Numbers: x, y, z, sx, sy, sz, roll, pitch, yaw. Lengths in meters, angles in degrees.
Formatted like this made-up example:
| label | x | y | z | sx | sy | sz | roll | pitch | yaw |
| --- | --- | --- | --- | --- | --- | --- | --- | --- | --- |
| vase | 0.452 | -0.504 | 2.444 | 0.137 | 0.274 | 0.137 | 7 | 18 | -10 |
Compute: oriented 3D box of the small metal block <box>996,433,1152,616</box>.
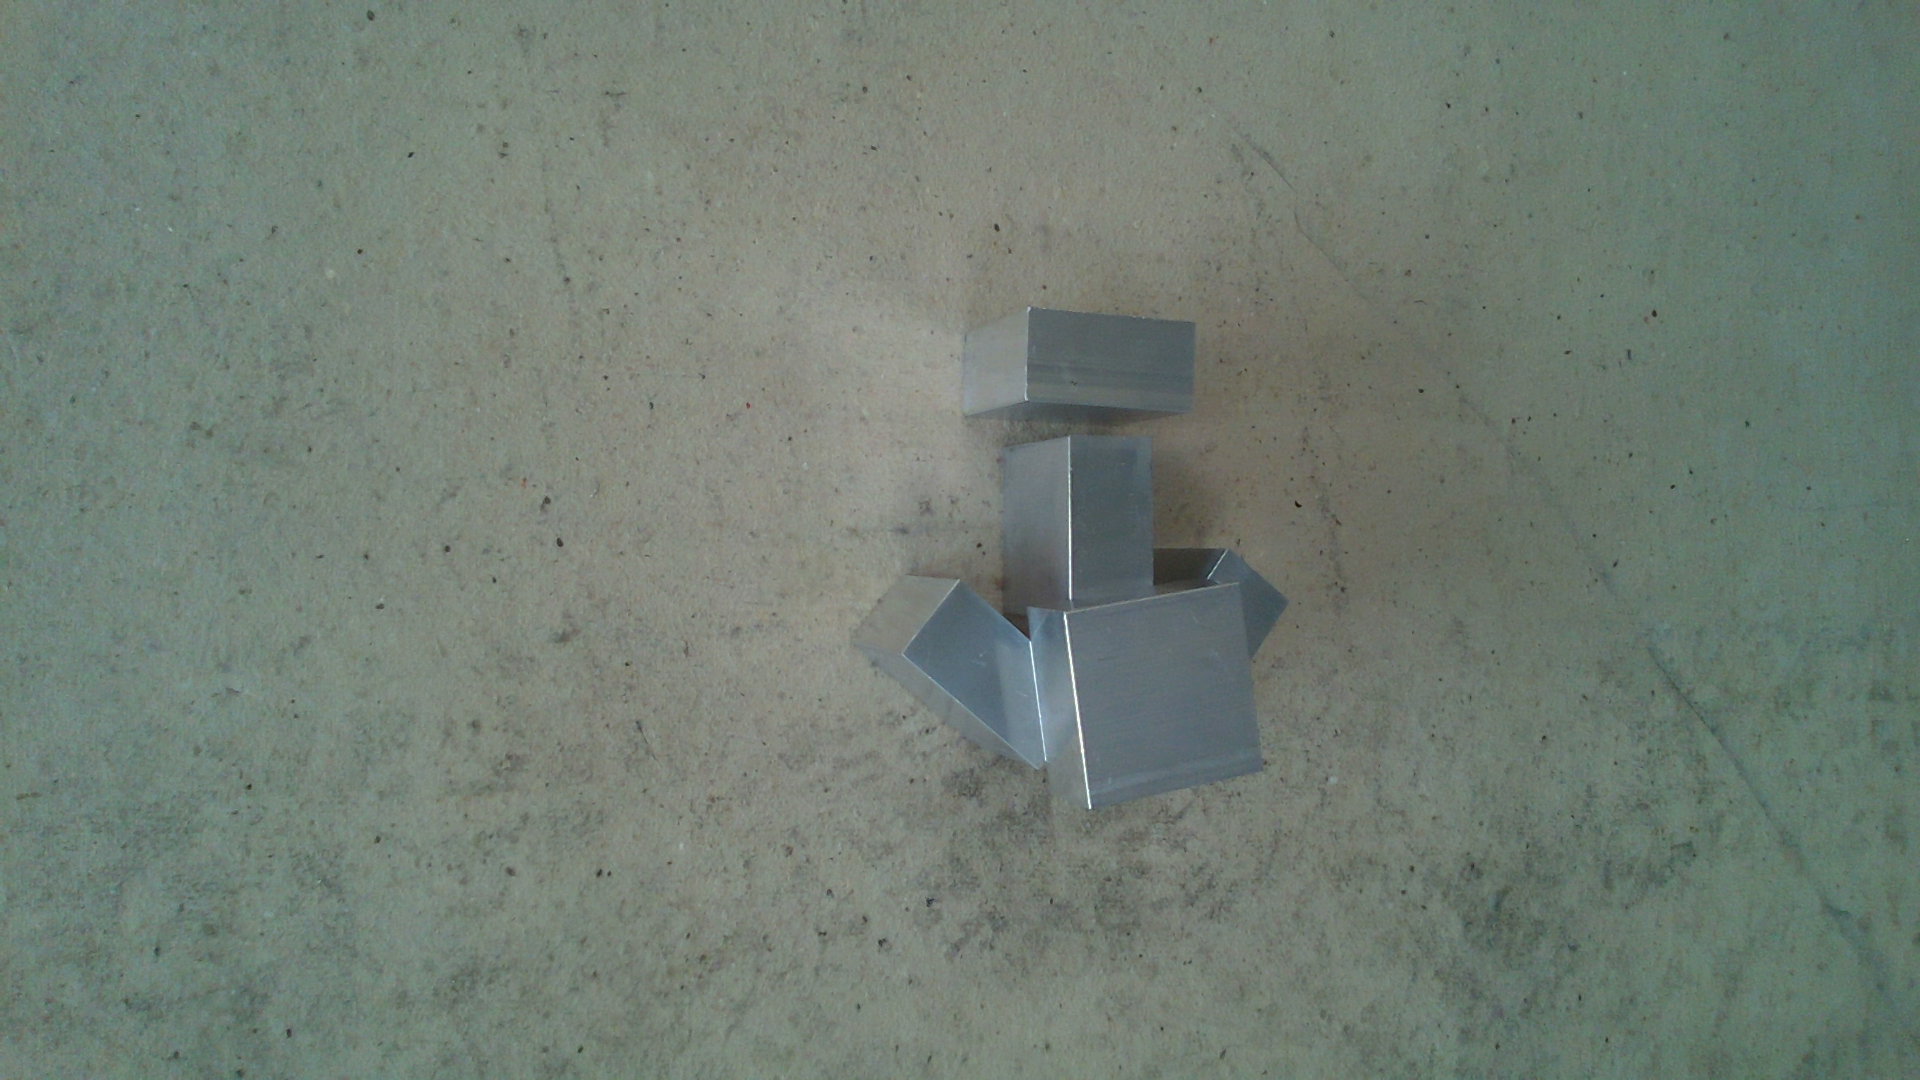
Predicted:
| label | x | y | z | sx | sy | sz | roll | pitch | yaw |
| --- | --- | --- | --- | --- | --- | --- | --- | --- | --- |
| small metal block | 0.032 | -0.003 | 0.393 | 0.025 | 0.050 | 0.050 | -1 | 90 | -20 |

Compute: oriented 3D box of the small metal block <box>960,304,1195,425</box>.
| label | x | y | z | sx | sy | sz | roll | pitch | yaw |
| --- | --- | --- | --- | --- | --- | --- | --- | --- | --- |
| small metal block | 0.032 | -0.049 | 0.392 | 0.050 | 0.050 | 0.025 | 2 | 89 | -20 |

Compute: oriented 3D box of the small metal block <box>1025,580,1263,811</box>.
| label | x | y | z | sx | sy | sz | roll | pitch | yaw |
| --- | --- | --- | --- | --- | --- | --- | --- | --- | --- |
| small metal block | 0.048 | 0.039 | 0.359 | 0.050 | 0.025 | 0.050 | -9 | 93 | -19 |

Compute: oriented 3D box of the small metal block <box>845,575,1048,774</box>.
| label | x | y | z | sx | sy | sz | roll | pitch | yaw |
| --- | --- | --- | --- | --- | --- | --- | --- | --- | --- |
| small metal block | 0.001 | 0.036 | 0.381 | 0.050 | 0.050 | 0.025 | 42 | 76 | -16 |

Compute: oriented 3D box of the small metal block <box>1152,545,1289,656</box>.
| label | x | y | z | sx | sy | sz | roll | pitch | yaw |
| --- | --- | --- | --- | --- | --- | --- | --- | --- | --- |
| small metal block | 0.061 | 0.029 | 0.403 | 0.025 | 0.050 | 0.050 | 39 | 78 | -16 |
